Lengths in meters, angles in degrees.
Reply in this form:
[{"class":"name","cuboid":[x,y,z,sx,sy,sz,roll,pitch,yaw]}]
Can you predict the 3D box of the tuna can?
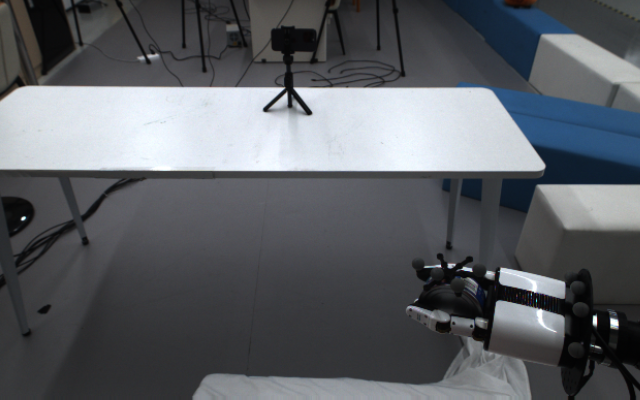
[{"class":"tuna can","cuboid":[0.182,0.136,0.658,0.085,0.085,0.034,17,37,20]}]
